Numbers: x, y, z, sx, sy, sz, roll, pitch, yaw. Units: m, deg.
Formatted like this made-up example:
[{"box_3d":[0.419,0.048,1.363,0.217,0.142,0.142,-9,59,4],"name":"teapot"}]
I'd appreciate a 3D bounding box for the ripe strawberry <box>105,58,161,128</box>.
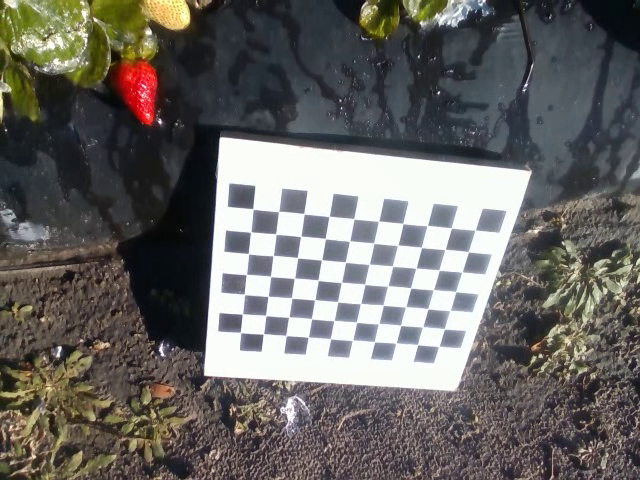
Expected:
[{"box_3d":[-0.149,-0.116,0.491,0.041,0.052,0.040,-11,22,-1],"name":"ripe strawberry"}]
